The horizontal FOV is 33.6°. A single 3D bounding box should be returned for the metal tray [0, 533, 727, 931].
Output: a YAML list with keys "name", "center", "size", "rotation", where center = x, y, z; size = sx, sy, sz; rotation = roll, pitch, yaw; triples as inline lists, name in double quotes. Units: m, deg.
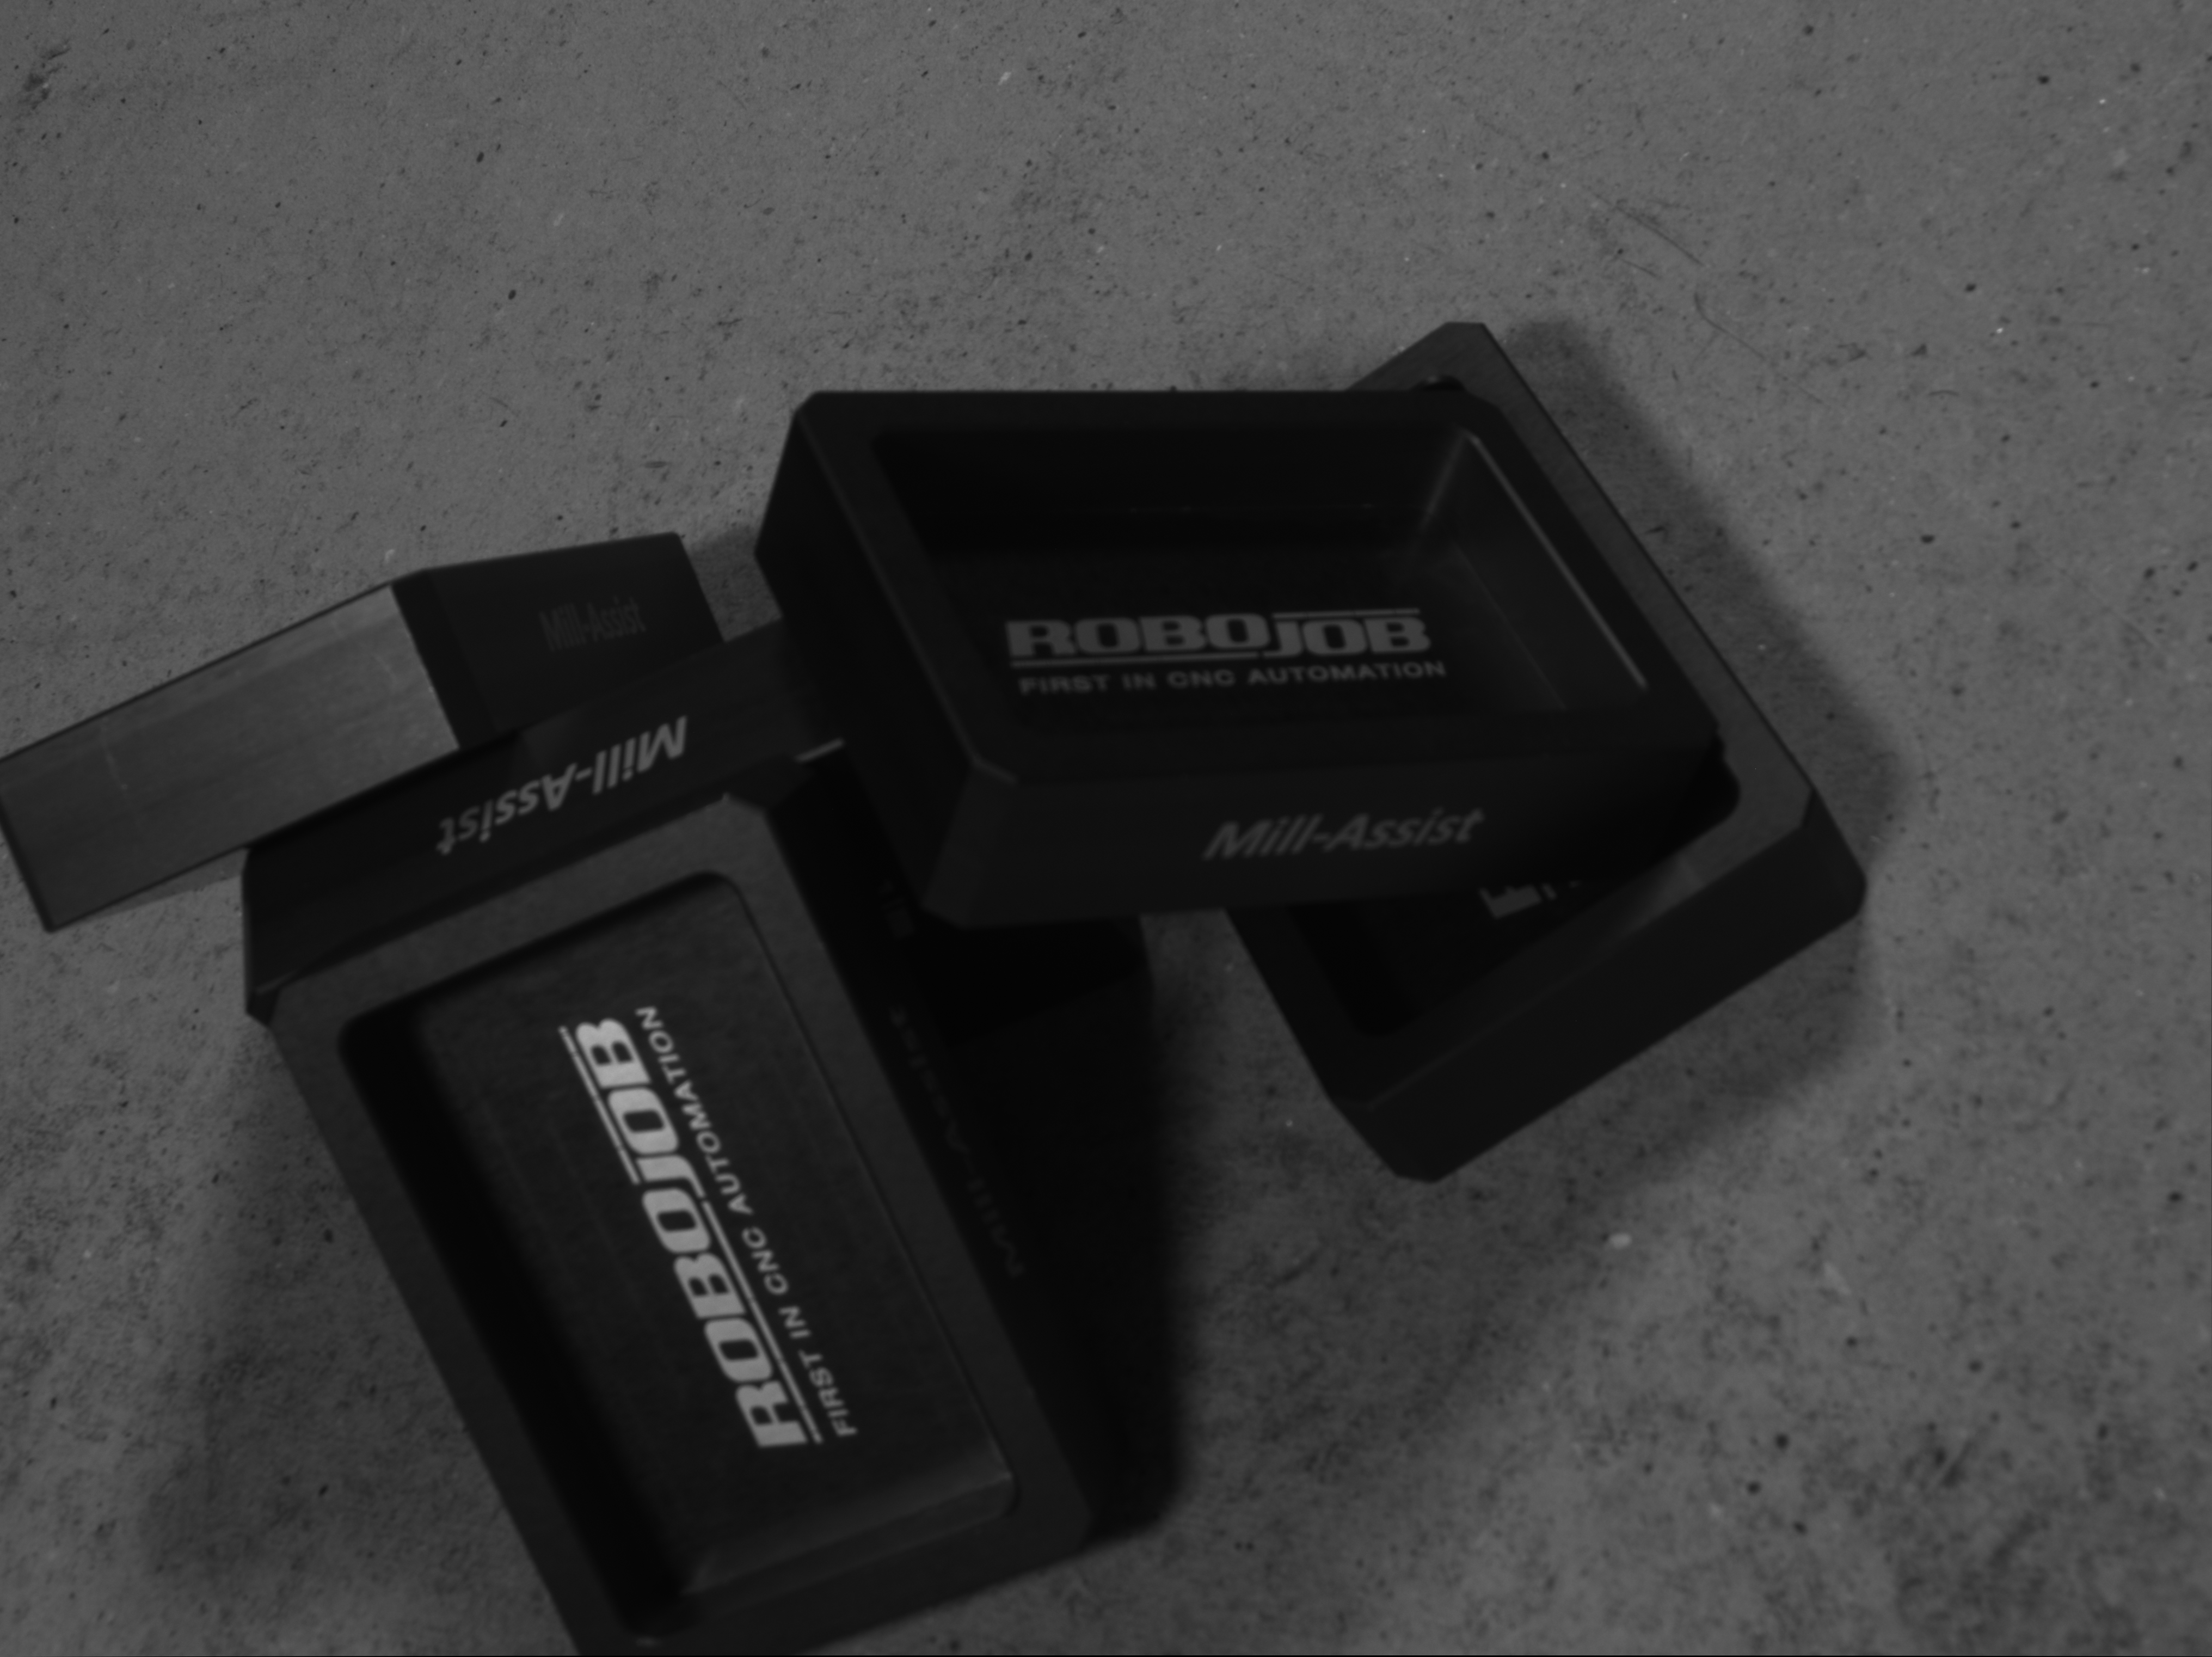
- name: "metal tray"
  center: [-0.130, -0.020, 0.666]
  size: [0.090, 0.130, 0.030]
  rotation: [-22, 92, 15]

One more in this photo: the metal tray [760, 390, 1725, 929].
- name: "metal tray"
  center: [0.021, -0.030, 0.579]
  size: [0.130, 0.030, 0.090]
  rotation: [-3, 46, -28]

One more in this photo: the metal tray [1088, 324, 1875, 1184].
- name: "metal tray"
  center: [0.058, -0.016, 0.619]
  size: [0.090, 0.030, 0.130]
  rotation: [-33, 51, 6]

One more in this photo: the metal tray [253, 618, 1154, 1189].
- name: "metal tray"
  center: [-0.069, 0.015, 0.630]
  size: [0.130, 0.090, 0.030]
  rotation: [-23, 53, 15]

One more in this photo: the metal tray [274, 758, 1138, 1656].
- name: "metal tray"
  center: [-0.062, 0.065, 0.581]
  size: [0.090, 0.030, 0.130]
  rotation: [-23, 98, 15]
